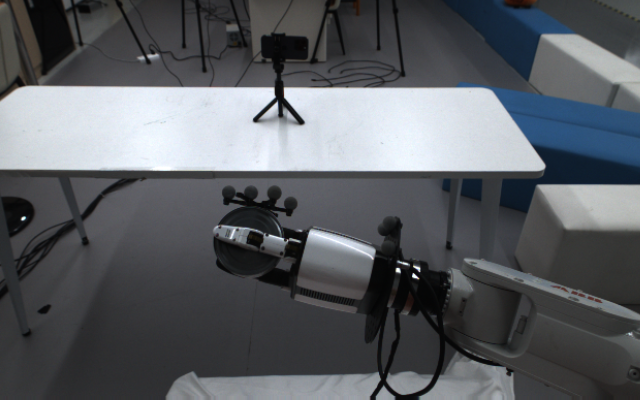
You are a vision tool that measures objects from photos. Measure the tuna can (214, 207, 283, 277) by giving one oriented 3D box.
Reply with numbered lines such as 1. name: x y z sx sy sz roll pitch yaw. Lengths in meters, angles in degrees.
1. tuna can: -0.085 0.052 0.597 0.085 0.034 0.085 1 72 -2
